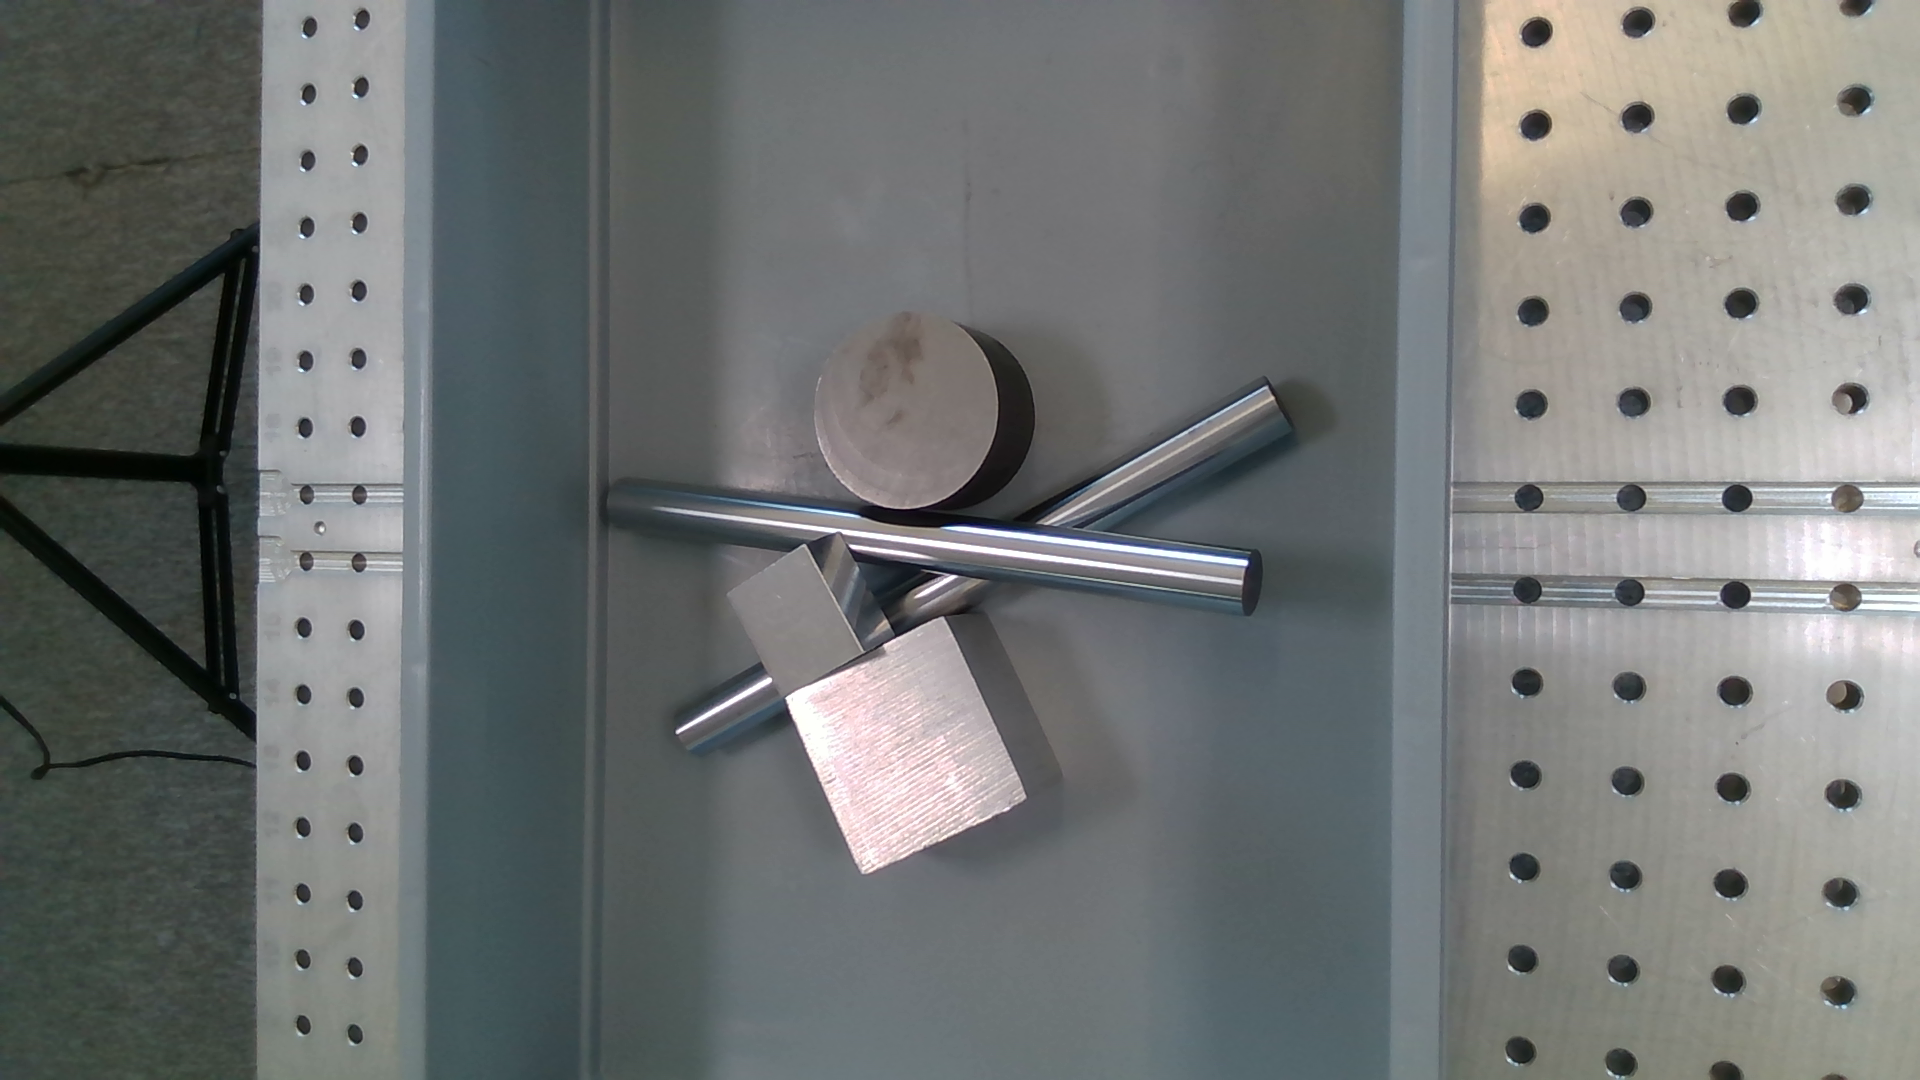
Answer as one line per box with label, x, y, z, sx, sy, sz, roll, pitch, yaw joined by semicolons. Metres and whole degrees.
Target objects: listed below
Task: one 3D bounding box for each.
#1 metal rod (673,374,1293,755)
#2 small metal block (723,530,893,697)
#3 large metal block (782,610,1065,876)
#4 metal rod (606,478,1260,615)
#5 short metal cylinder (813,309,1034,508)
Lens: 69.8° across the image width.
metal rod;0.001;0.017;0.584;0.300;0.025;0.025;-30;80;18
small metal block;-0.063;0.031;0.574;0.050;0.025;0.050;-30;88;33
large metal block;-0.015;0.083;0.577;0.080;0.050;0.080;-29;81;18
metal rod;-0.025;-0.001;0.573;0.300;0.025;0.025;7;93;28
short metal cylinder;-0.014;-0.053;0.576;0.080;0.050;0.080;0;91;20
